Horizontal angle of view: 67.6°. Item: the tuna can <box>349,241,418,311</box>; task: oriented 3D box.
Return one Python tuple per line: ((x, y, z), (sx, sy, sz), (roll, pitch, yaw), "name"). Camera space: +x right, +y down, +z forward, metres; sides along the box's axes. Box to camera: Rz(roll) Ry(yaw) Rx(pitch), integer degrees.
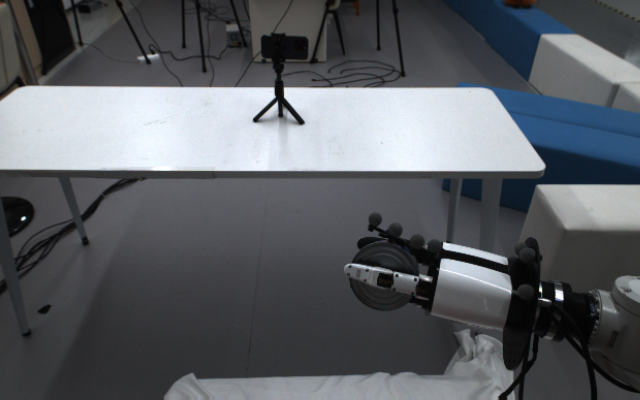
((0.084, 0.092, 0.608), (0.085, 0.085, 0.034), (14, 2, 16), "tuna can")
